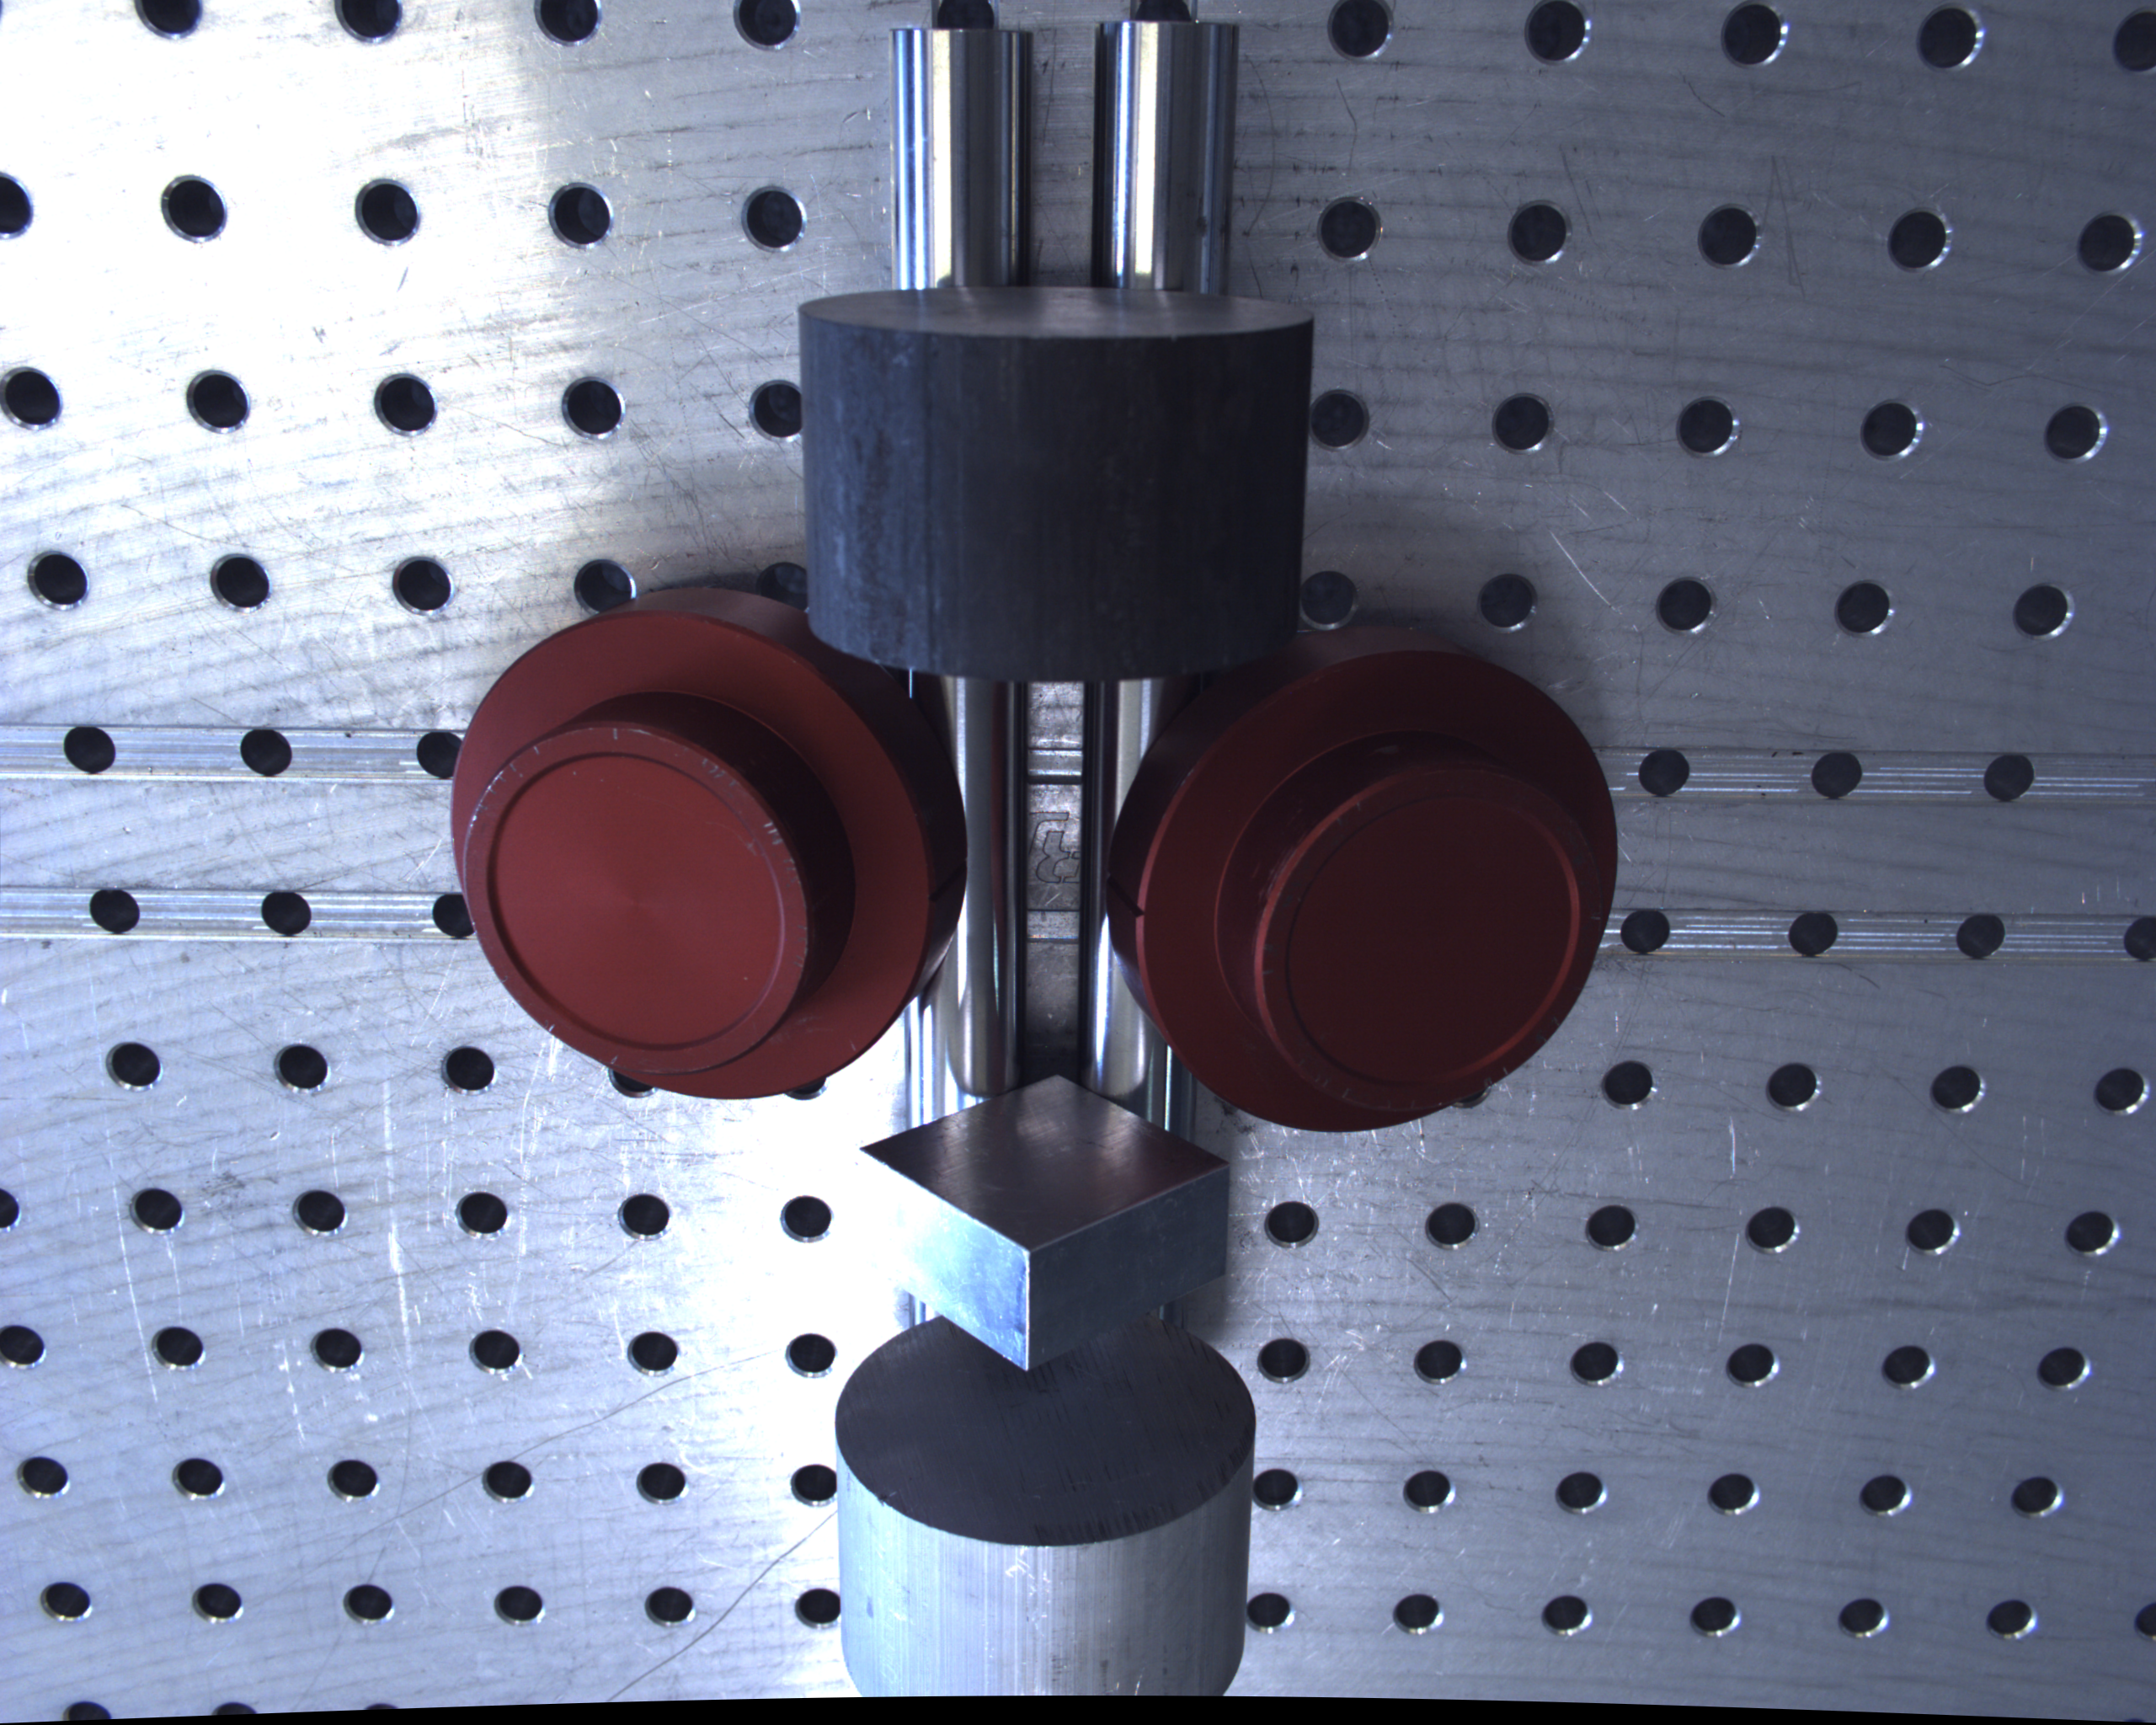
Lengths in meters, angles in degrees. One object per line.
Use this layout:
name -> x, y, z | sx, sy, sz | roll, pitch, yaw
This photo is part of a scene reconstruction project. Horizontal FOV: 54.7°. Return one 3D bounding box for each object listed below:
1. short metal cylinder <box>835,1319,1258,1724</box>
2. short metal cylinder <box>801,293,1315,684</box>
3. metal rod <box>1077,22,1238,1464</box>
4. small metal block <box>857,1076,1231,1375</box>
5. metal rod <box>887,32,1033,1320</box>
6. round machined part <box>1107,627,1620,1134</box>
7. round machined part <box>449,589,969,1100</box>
short metal cylinder -> -0.006, 0.128, 0.408 | 0.081, 0.080, 0.050 | 1, 110, -1
short metal cylinder -> -0.003, -0.064, 0.337 | 0.081, 0.080, 0.050 | 1, 110, -1
metal rod -> 0.013, -0.005, 0.411 | 0.025, 0.025, 0.298 | 1, 110, 0
small metal block -> -0.007, 0.067, 0.400 | 0.050, 0.050, 0.025 | -16, 116, -39
metal rod -> -0.022, -0.003, 0.411 | 0.025, 0.025, 0.298 | 1, 110, 0
round machined part -> 0.058, 0.008, 0.393 | 0.099, 0.042, 0.097 | -6, 111, -14
round machined part -> -0.074, 0.001, 0.391 | 0.098, 0.042, 0.097 | 5, 111, 13
